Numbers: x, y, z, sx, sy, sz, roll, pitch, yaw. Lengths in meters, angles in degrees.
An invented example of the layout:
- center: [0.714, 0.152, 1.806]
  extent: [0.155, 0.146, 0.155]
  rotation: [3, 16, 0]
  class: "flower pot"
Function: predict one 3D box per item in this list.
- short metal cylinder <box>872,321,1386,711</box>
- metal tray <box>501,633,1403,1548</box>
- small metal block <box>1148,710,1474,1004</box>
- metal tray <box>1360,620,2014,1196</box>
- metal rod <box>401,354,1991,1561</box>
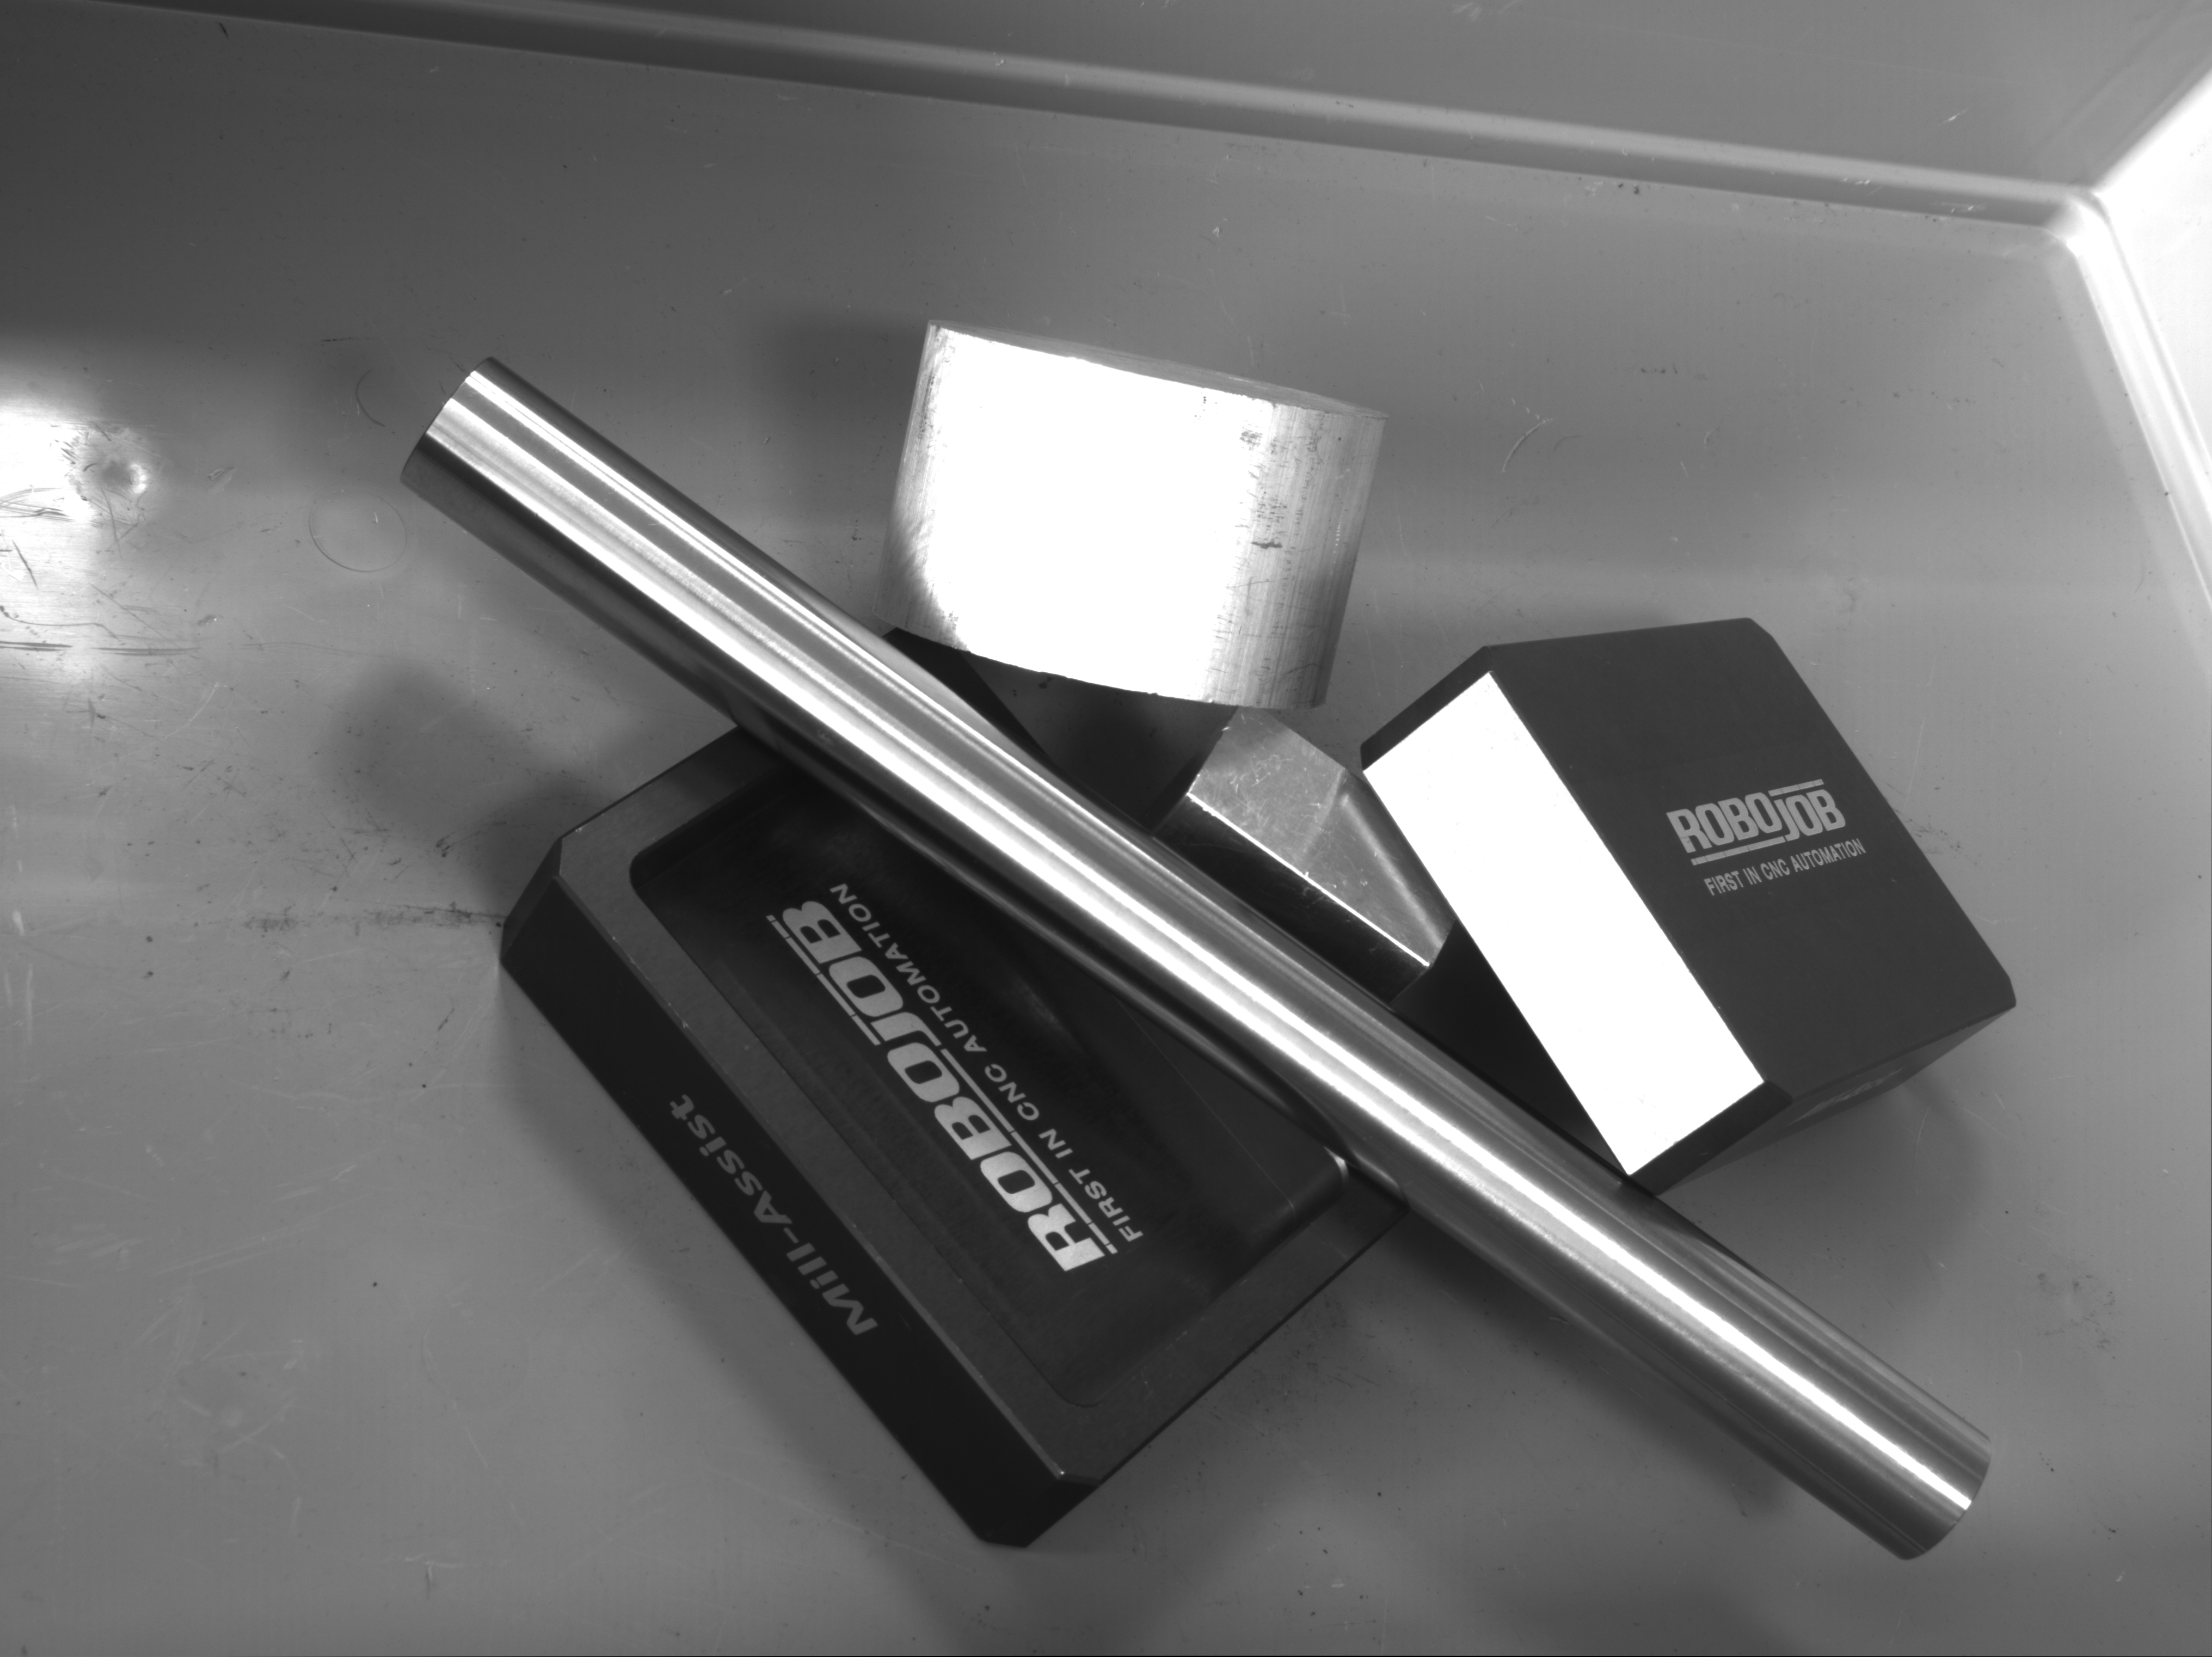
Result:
- center: [0.004, -0.054, 0.630]
  extent: [0.080, 0.080, 0.050]
  rotation: [8, 100, -24]
  class: "short metal cylinder"
- center: [-0.023, 0.039, 0.598]
  extent: [0.130, 0.030, 0.090]
  rotation: [49, 51, 6]
  class: "metal tray"
- center: [0.028, 0.012, 0.629]
  extent: [0.050, 0.050, 0.025]
  rotation: [35, 51, -5]
  class: "small metal block"
- center: [0.106, 0.010, 0.653]
  extent: [0.090, 0.030, 0.130]
  rotation: [58, 28, 13]
  class: "metal tray"
- center: [0.017, 0.023, 0.595]
  extent: [0.300, 0.025, 0.025]
  rotation: [36, 51, -5]
  class: "metal rod"
